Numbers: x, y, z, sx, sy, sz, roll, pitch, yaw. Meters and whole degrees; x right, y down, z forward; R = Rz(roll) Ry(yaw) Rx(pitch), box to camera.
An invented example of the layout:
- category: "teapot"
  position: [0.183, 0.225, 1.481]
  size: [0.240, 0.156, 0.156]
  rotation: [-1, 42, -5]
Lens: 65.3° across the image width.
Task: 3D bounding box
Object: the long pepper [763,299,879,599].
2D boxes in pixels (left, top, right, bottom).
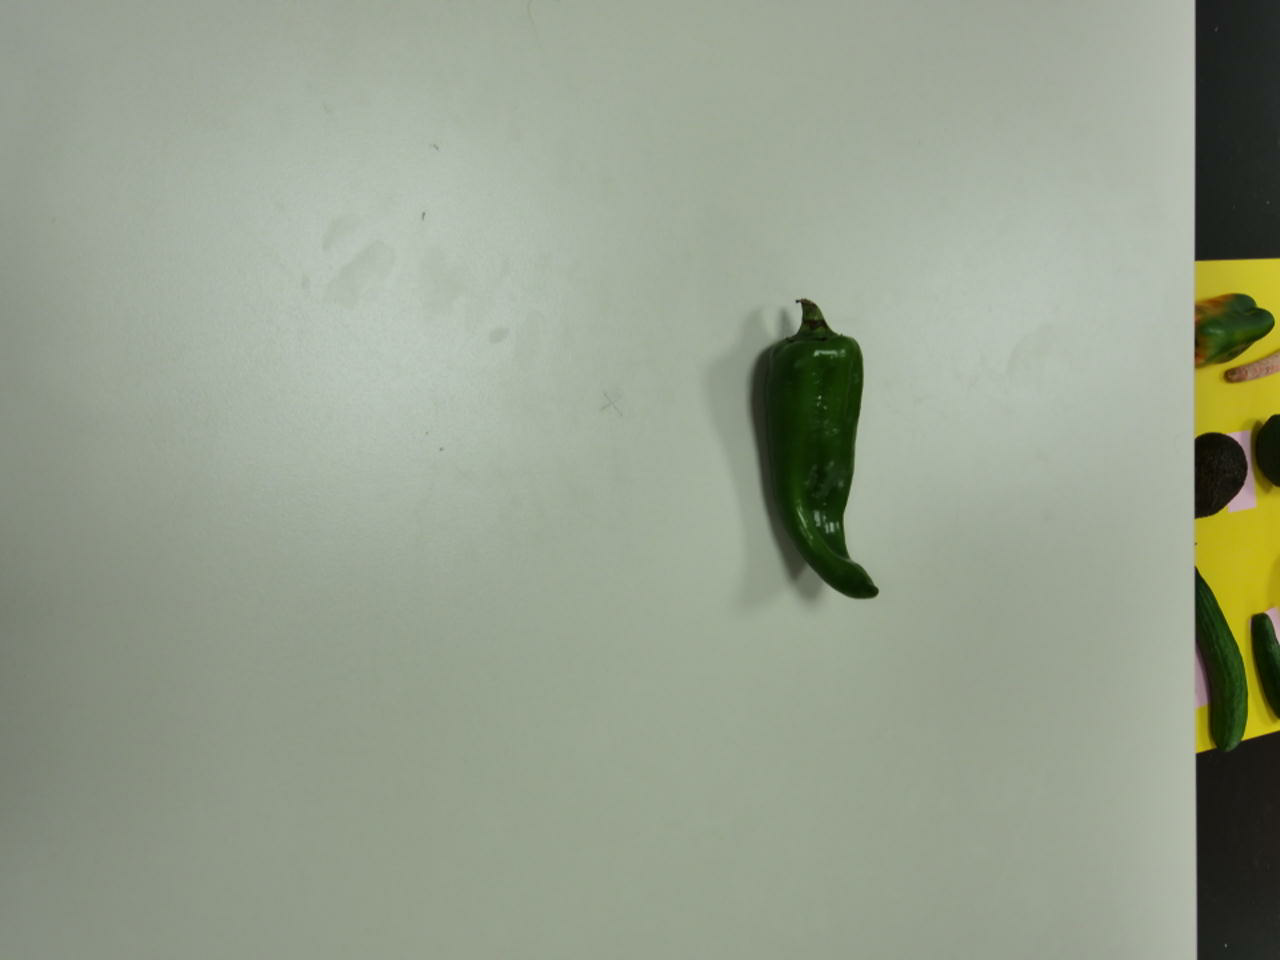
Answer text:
- category: "long pepper"
  position: [0.105, -0.018, 0.572]
  size: [0.058, 0.065, 0.175]
  rotation: [-3, 91, -22]
